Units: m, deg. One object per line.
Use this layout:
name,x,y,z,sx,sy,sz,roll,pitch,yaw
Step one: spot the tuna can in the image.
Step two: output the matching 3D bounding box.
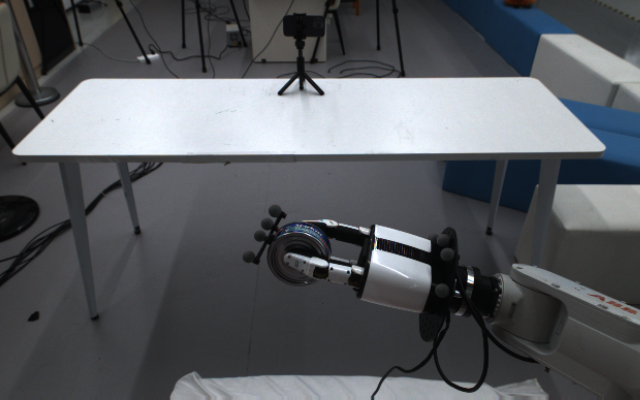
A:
tuna can,-0.025,0.078,0.661,0.085,0.085,0.034,3,21,1
